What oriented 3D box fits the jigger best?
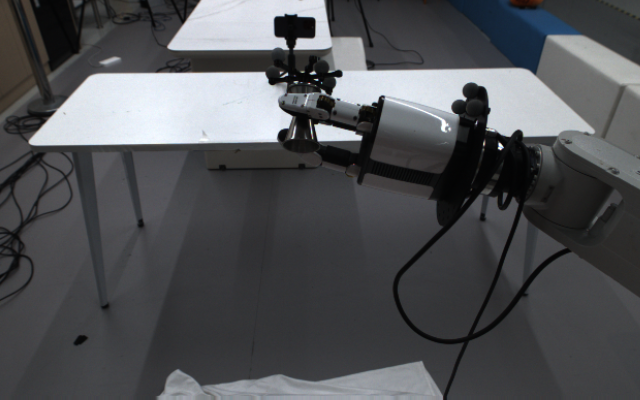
[{"bbox_3d":[-0.020,-0.093,0.545,0.043,0.043,0.071,3,76,1],"label":"jigger"}]
